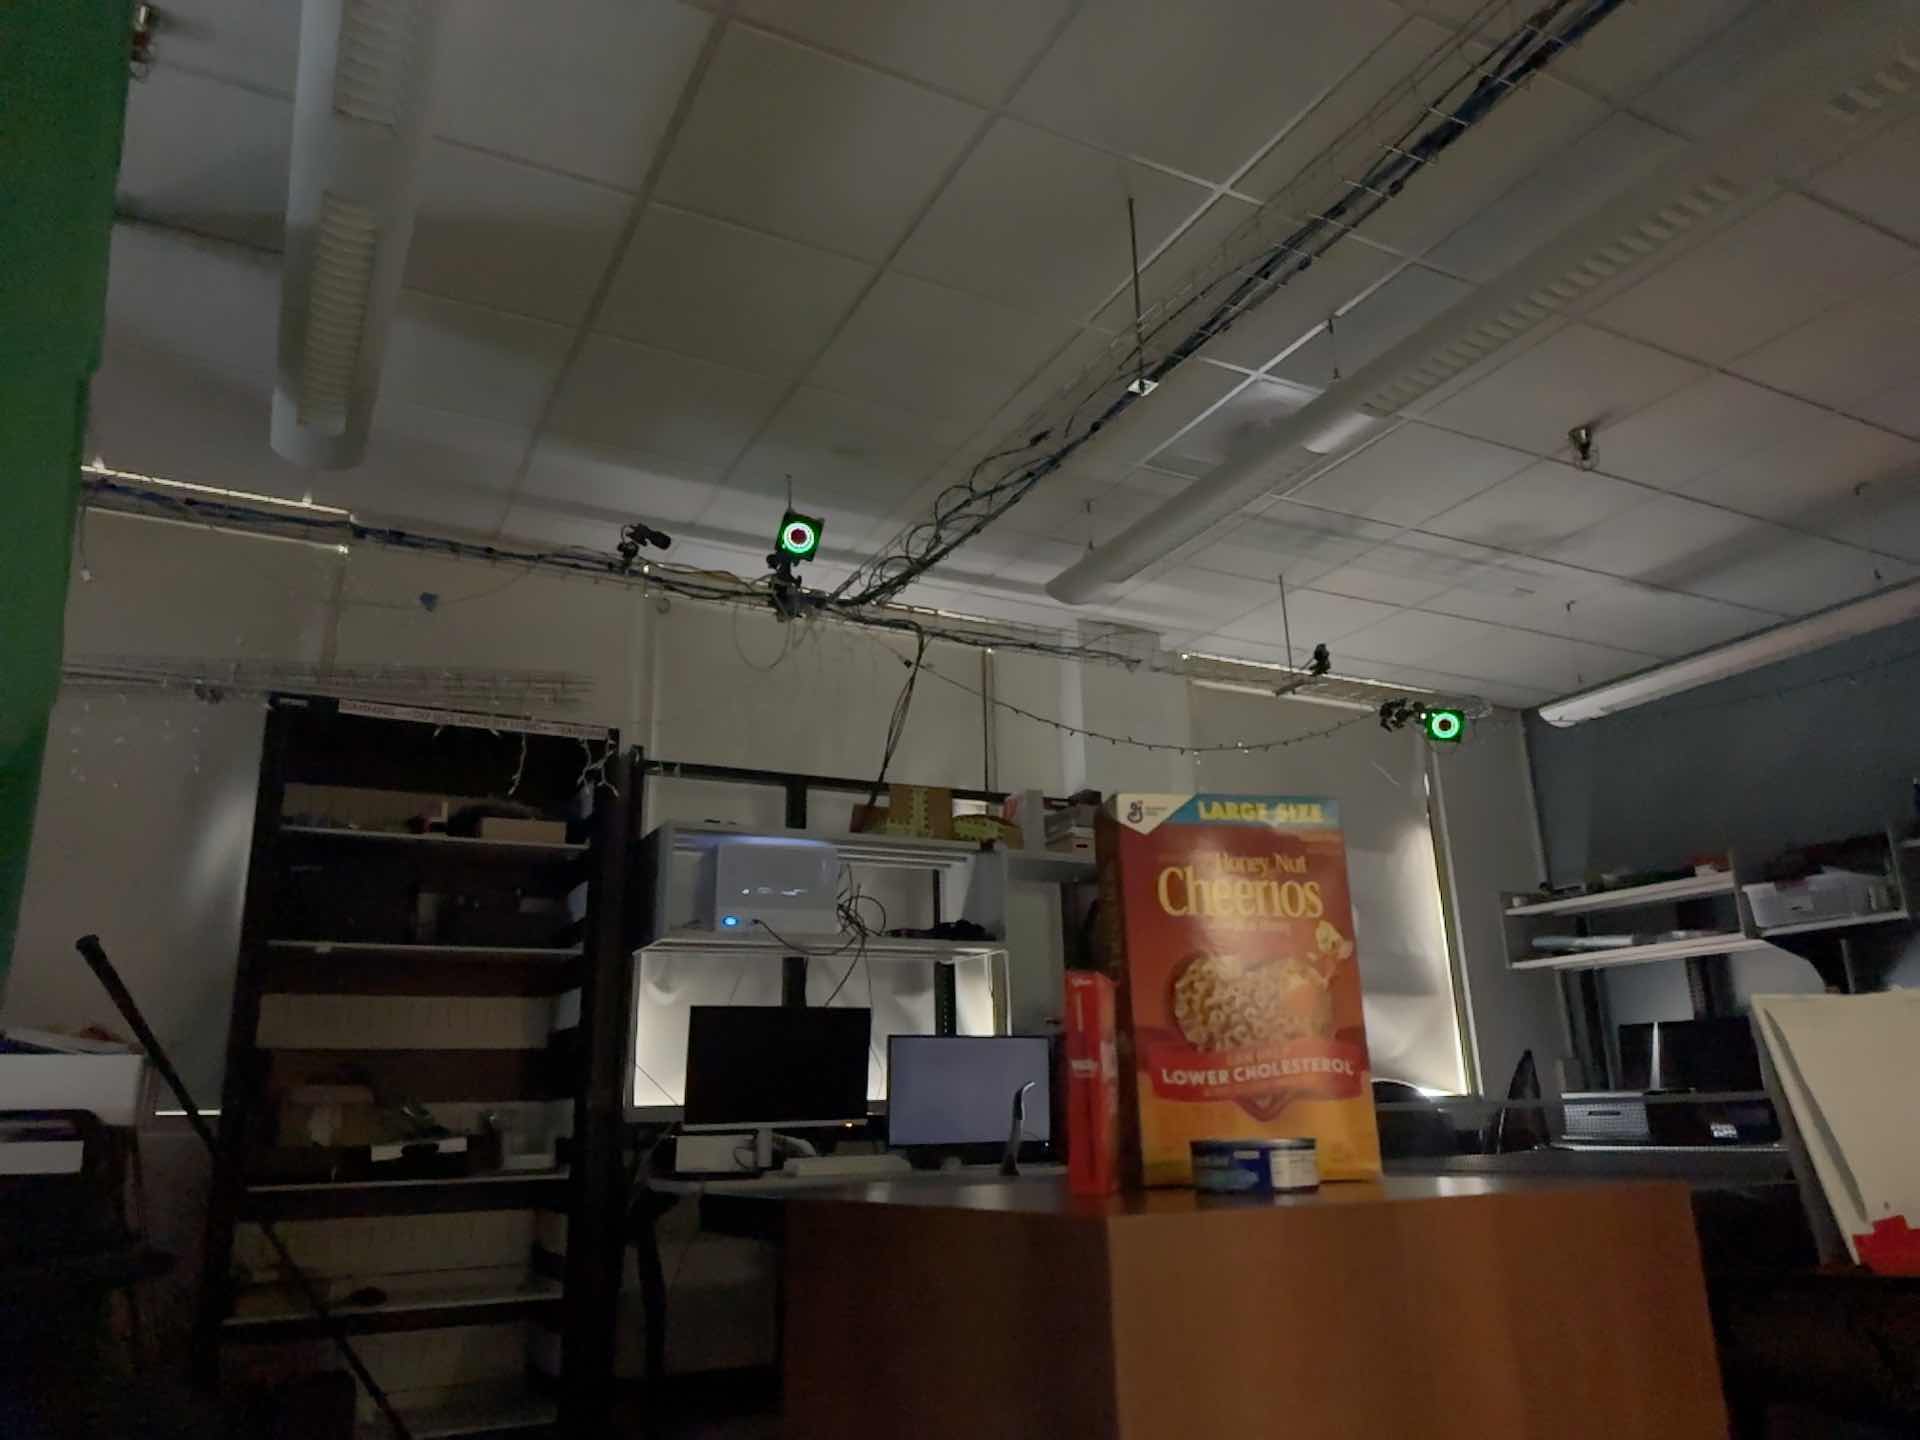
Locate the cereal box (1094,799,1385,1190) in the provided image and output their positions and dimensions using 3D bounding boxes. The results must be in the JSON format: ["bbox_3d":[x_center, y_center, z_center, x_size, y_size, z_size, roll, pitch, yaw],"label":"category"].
[{"bbox_3d":[0.223,0.218,1.099,0.195,0.297,0.065,3,-17,-14],"label":"cereal box"}]

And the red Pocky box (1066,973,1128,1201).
[{"bbox_3d":[0.099,0.262,0.967,0.028,0.155,0.083,-5,-16,15],"label":"red Pocky box"}]

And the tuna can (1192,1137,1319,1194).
[{"bbox_3d":[0.203,0.306,0.926,0.083,0.034,0.083,-1,-16,0],"label":"tuna can"}]
